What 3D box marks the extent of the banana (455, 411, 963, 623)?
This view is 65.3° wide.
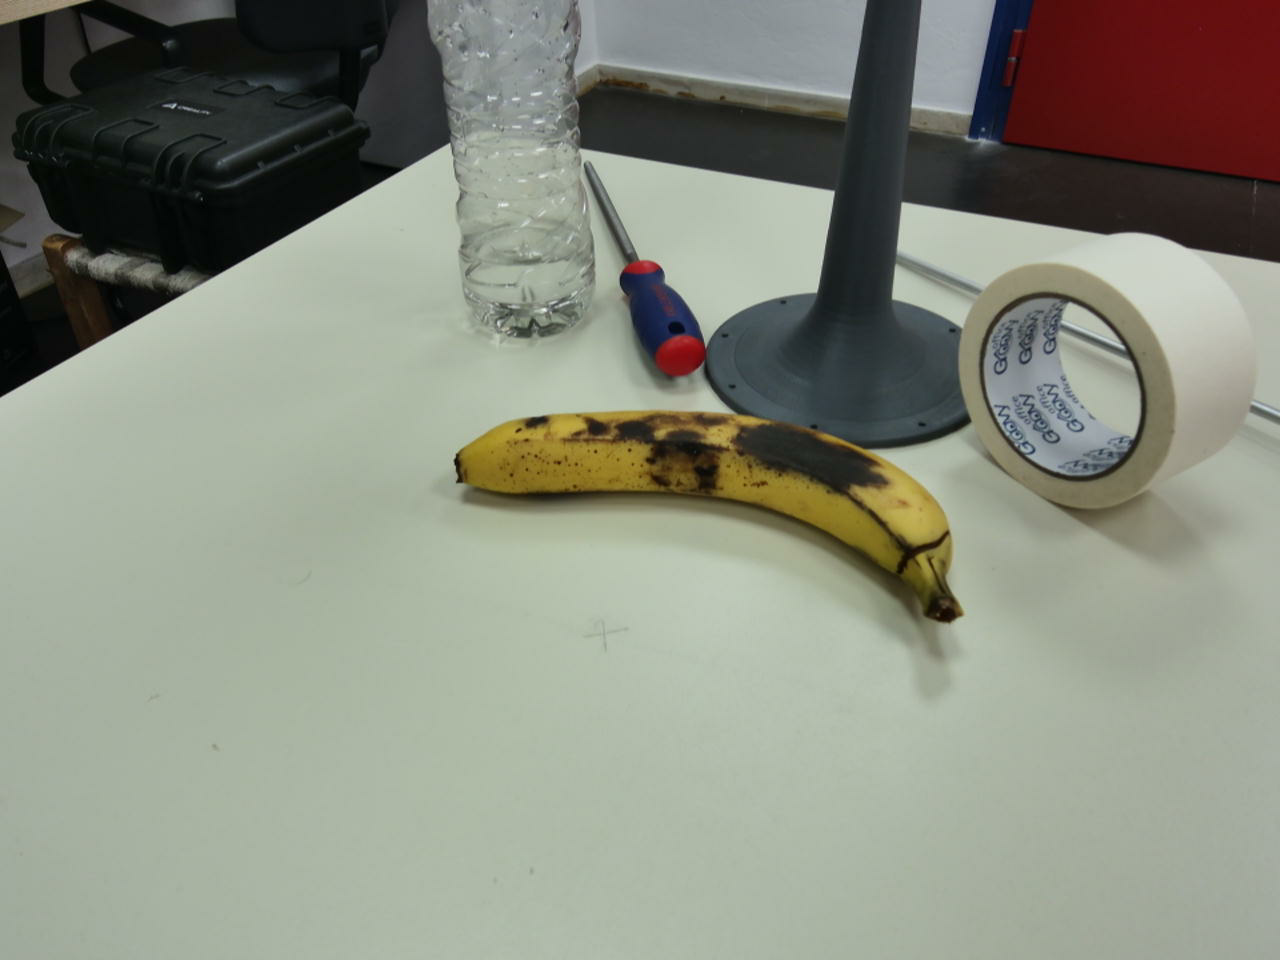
[{"bbox_3d":[0.033,0.000,0.427,0.222,0.037,0.084,17,41,22],"label":"banana"}]
